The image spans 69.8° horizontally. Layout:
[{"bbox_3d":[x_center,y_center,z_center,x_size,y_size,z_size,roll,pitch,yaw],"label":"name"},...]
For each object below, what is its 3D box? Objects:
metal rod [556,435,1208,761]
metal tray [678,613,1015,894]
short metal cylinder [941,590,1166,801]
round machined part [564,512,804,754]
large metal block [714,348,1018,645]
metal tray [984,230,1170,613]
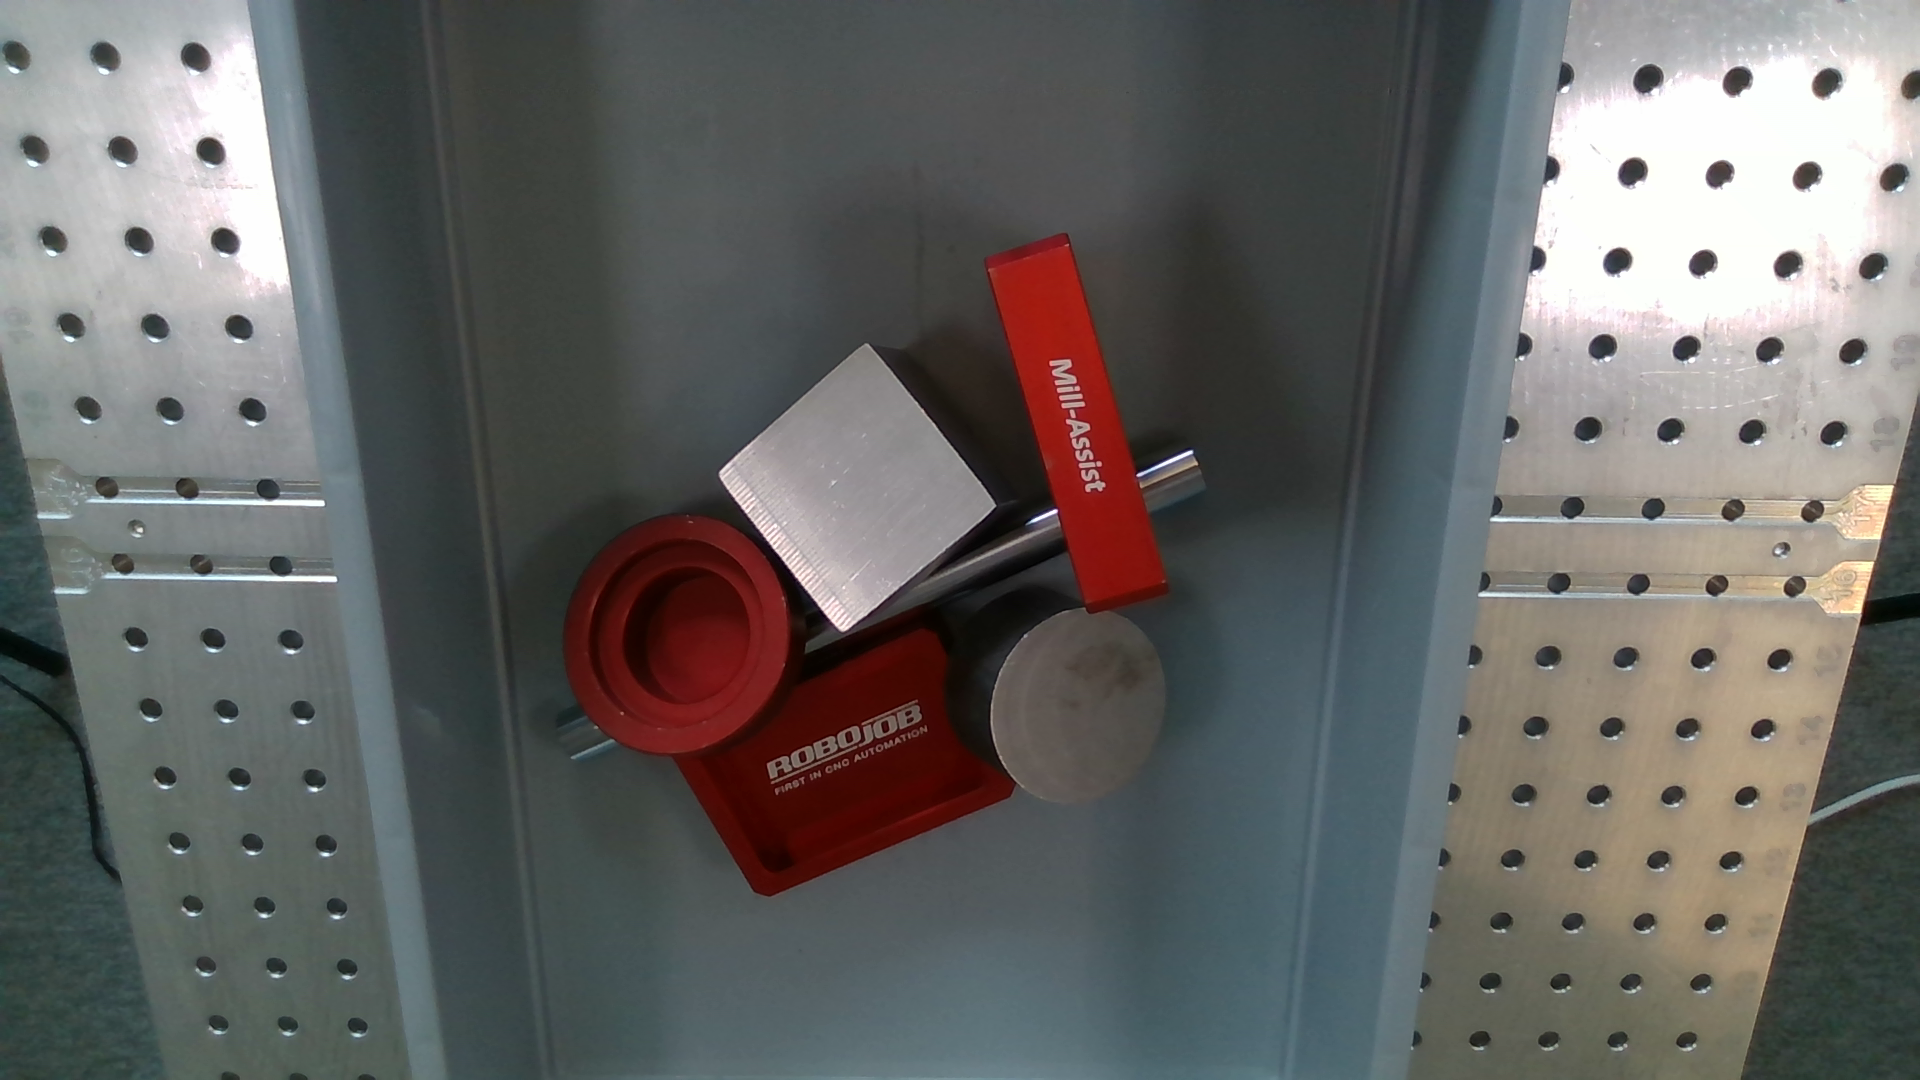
[{"bbox_3d":[-0.038,0.027,0.593,0.300,0.025,0.025,-24,108,9],"label":"metal rod"},{"bbox_3d":[-0.051,0.094,0.616,0.130,0.030,0.090,-24,109,9],"label":"metal tray"},{"bbox_3d":[0.039,0.063,0.578,0.080,0.050,0.080,-3,99,-23],"label":"short metal cylinder"},{"bbox_3d":[-0.111,0.040,0.574,0.098,0.042,0.098,-2,81,13],"label":"round machined part"},{"bbox_3d":[-0.035,-0.018,0.544,0.080,0.050,0.080,-40,87,14],"label":"large metal block"},{"bbox_3d":[0.045,-0.045,0.517,0.030,0.090,0.130,-16,95,8],"label":"metal tray"}]
